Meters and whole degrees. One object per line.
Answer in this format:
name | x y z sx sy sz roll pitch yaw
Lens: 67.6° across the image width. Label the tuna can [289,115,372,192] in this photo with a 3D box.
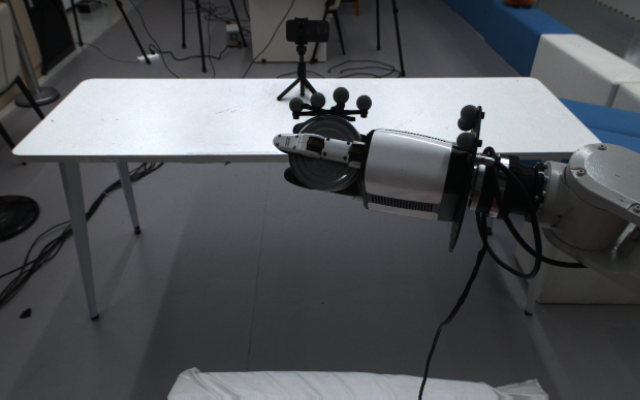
tuna can | 0.012 -0.048 0.553 0.085 0.085 0.034 12 0 14
